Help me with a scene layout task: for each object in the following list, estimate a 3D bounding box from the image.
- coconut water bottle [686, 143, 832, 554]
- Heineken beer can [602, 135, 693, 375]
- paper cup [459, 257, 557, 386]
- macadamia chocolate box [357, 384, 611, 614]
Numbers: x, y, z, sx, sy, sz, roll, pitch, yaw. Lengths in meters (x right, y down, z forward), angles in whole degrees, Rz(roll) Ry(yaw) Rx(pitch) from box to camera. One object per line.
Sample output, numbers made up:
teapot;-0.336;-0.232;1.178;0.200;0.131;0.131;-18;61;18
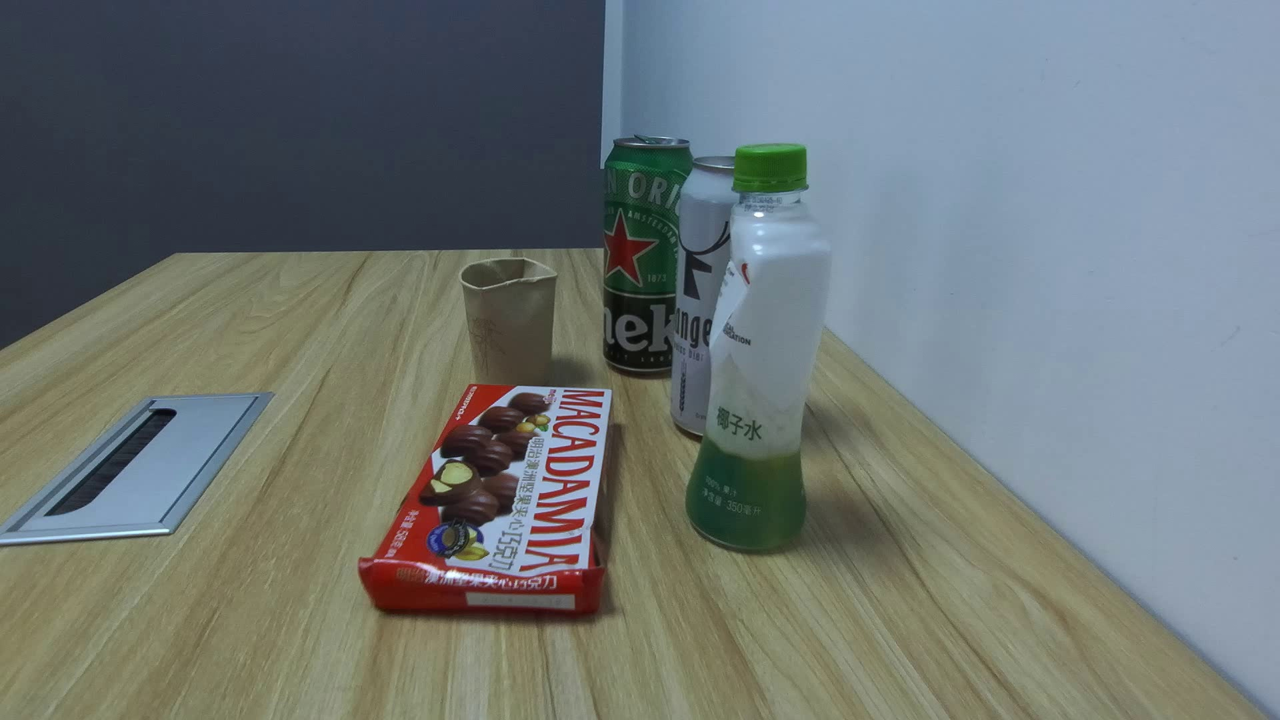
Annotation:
coconut water bottle;0.058;-0.004;0.341;0.069;0.187;0.069;2;19;0
Heineken beer can;0.005;-0.074;0.530;0.067;0.169;0.067;0;17;0
paper cup;-0.096;-0.025;0.511;0.072;0.084;0.066;-11;24;-29
macadamia chocolate box;-0.067;0.064;0.382;0.106;0.028;0.183;2;24;0
